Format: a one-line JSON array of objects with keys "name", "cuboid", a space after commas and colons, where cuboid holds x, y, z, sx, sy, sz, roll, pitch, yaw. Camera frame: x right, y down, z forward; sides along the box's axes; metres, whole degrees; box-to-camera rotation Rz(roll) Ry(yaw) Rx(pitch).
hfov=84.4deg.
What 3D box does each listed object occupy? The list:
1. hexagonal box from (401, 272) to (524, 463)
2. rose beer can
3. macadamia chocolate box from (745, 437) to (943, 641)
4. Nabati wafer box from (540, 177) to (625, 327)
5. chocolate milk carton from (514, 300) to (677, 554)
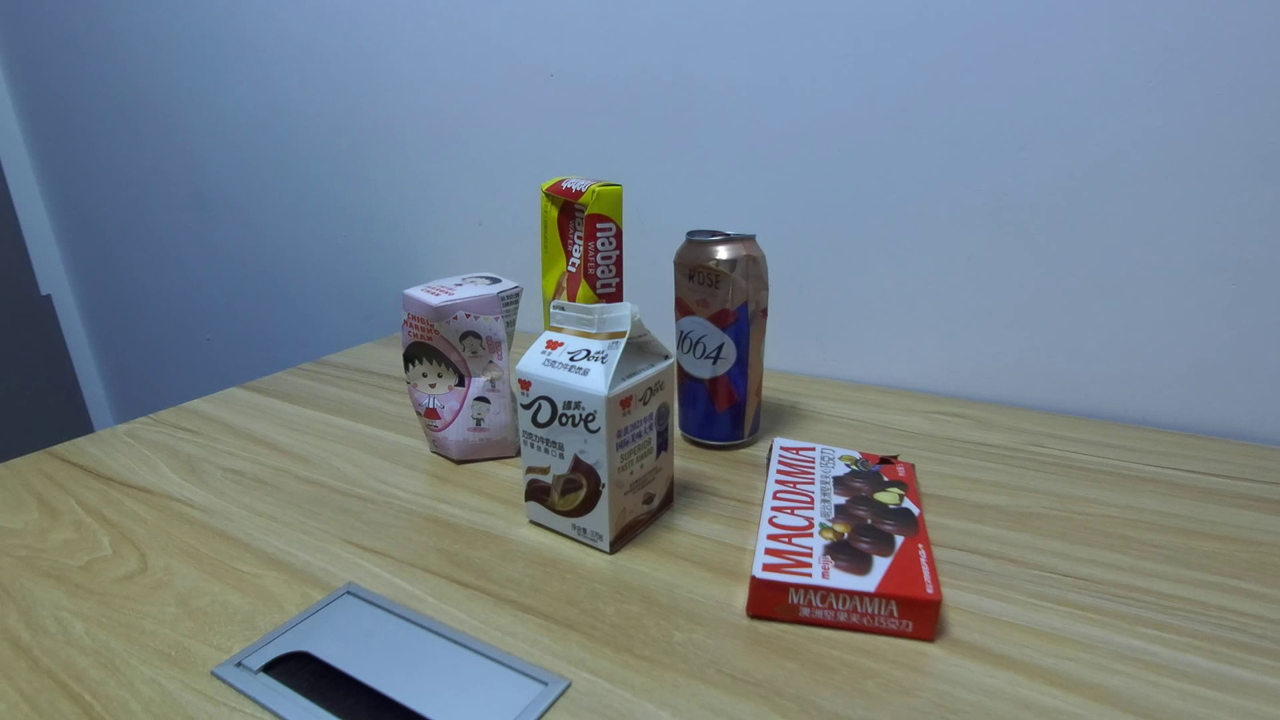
[{"name": "hexagonal box", "cuboid": [-0.136, 0.005, 0.570, 0.088, 0.134, 0.093, 0, 20, 9]}, {"name": "rose beer can", "cuboid": [0.064, -0.017, 0.557, 0.065, 0.167, 0.075, -8, 19, -23]}, {"name": "macadamia chocolate box", "cuboid": [0.126, 0.096, 0.439, 0.102, 0.027, 0.187, 4, 19, 13]}, {"name": "Nabati wafer box", "cuboid": [-0.053, -0.056, 0.633, 0.042, 0.203, 0.096, -9, 21, -25]}, {"name": "chocolate milk carton", "cuboid": [-0.026, 0.033, 0.449, 0.075, 0.148, 0.074, 13, 25, 34]}]
